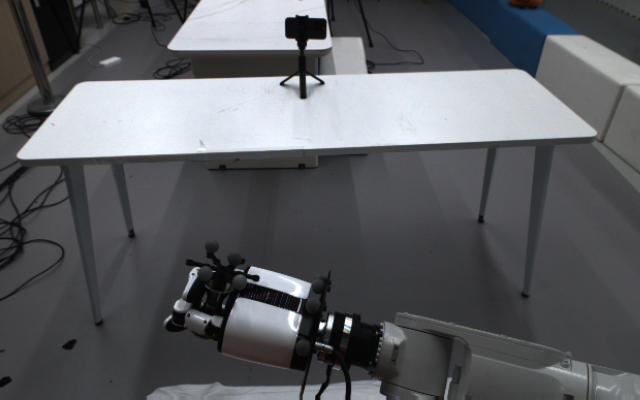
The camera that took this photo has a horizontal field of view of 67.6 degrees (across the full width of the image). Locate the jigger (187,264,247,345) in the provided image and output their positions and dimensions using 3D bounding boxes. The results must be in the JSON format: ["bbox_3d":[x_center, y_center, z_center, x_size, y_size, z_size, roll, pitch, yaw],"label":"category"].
[{"bbox_3d":[-0.130,0.132,0.597,0.043,0.071,0.043,18,17,-6],"label":"jigger"}]
